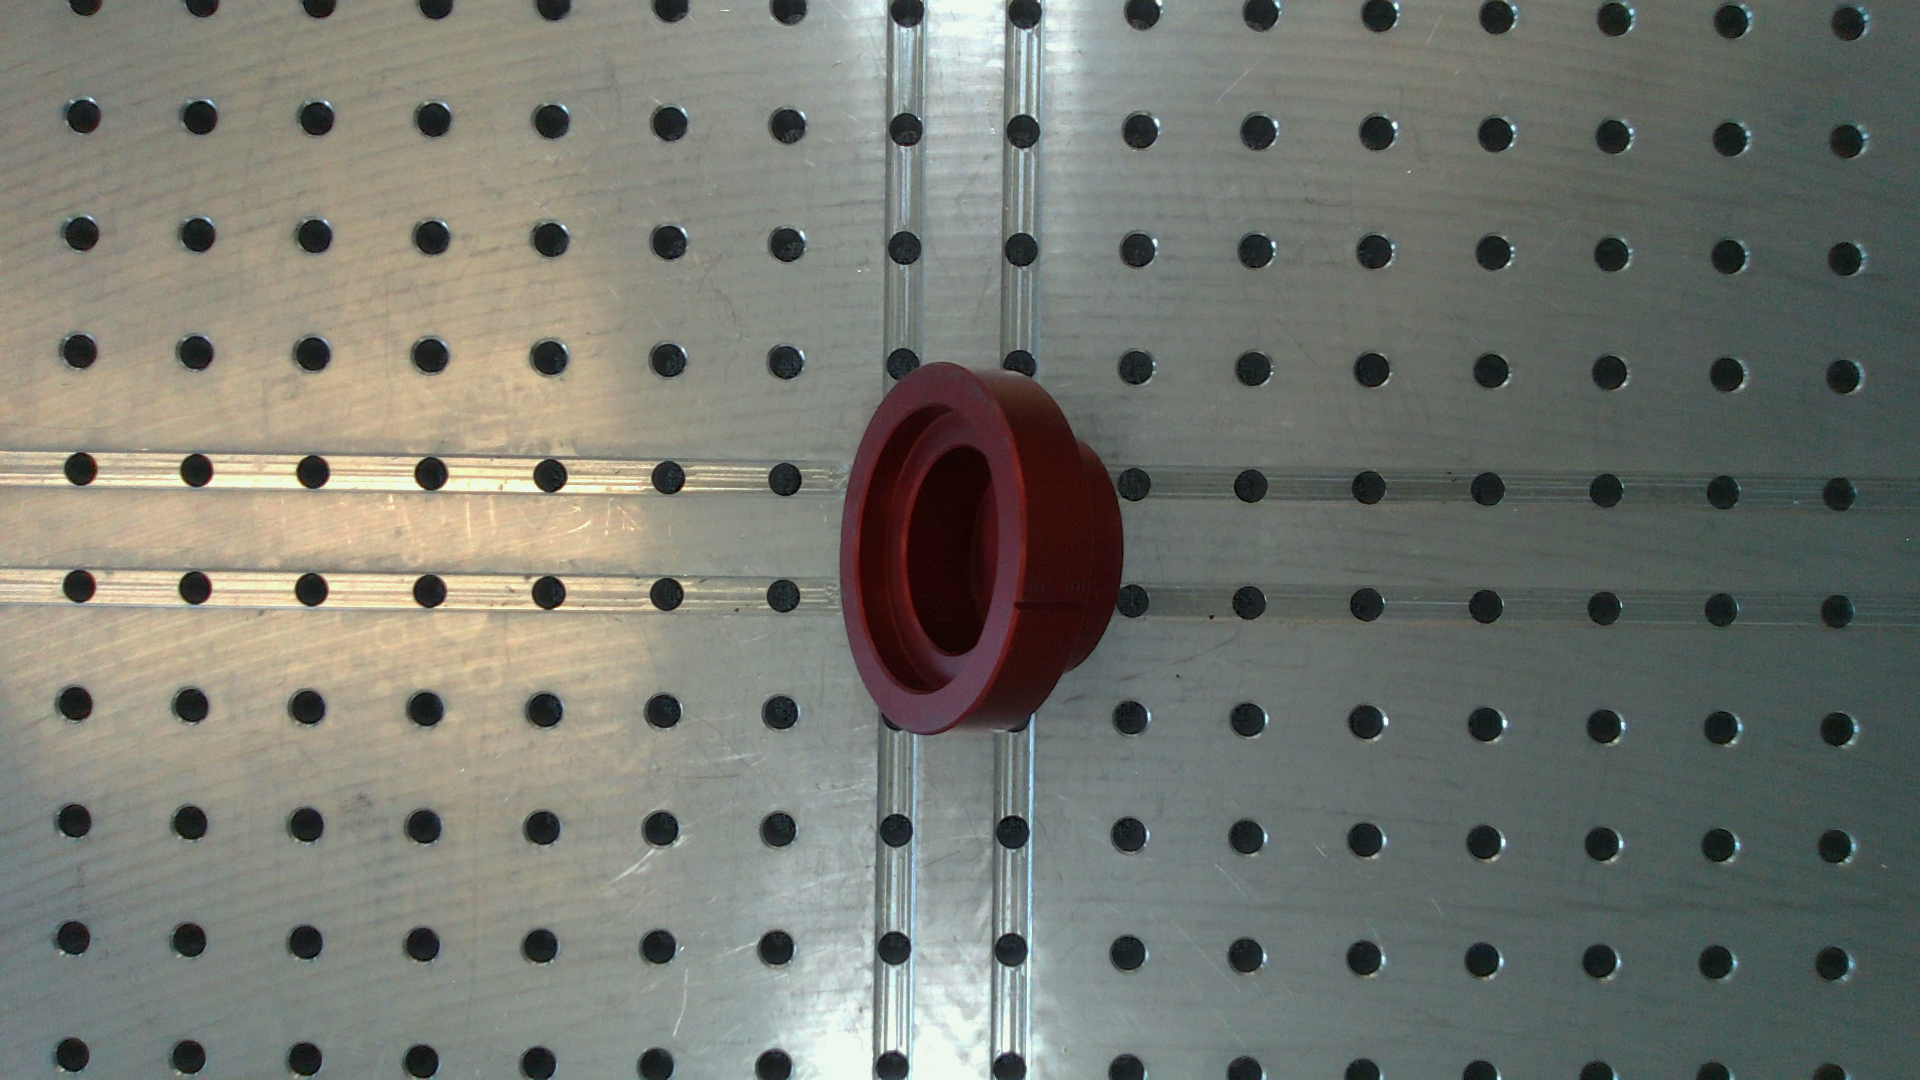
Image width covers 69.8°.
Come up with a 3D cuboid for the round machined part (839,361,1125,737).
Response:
[{"bbox_3d":[0.007,0.003,0.371,0.042,0.098,0.098,3,90,-31],"label":"round machined part"}]
